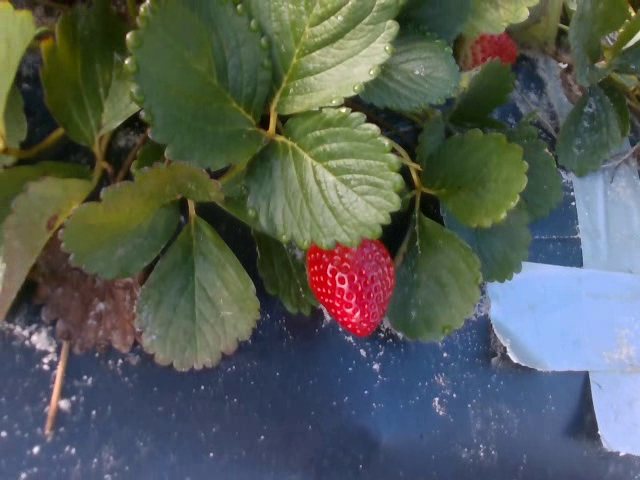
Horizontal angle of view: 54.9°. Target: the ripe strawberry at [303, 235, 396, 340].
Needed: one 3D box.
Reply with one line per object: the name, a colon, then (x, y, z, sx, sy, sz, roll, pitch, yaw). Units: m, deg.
ripe strawberry: (0.006, 0.008, 0.109, 0.018, 0.023, 0.021, -4, -31, -5)
